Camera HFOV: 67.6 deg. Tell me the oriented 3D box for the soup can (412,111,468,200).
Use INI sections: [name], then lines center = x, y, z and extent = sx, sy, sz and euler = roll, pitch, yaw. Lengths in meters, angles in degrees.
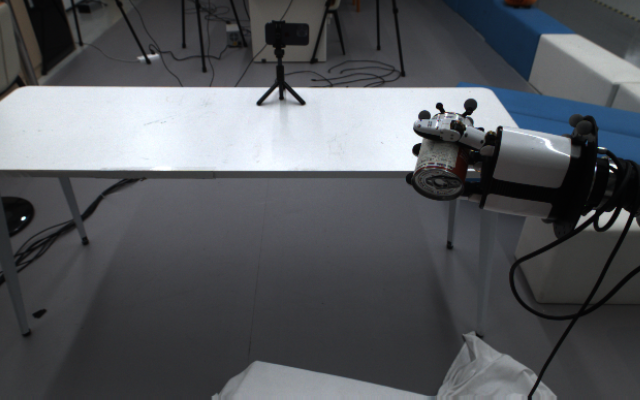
[soup can]
center = 0.166, -0.062, 0.651
extent = 0.067, 0.067, 0.101
euler = 12, 59, 14
